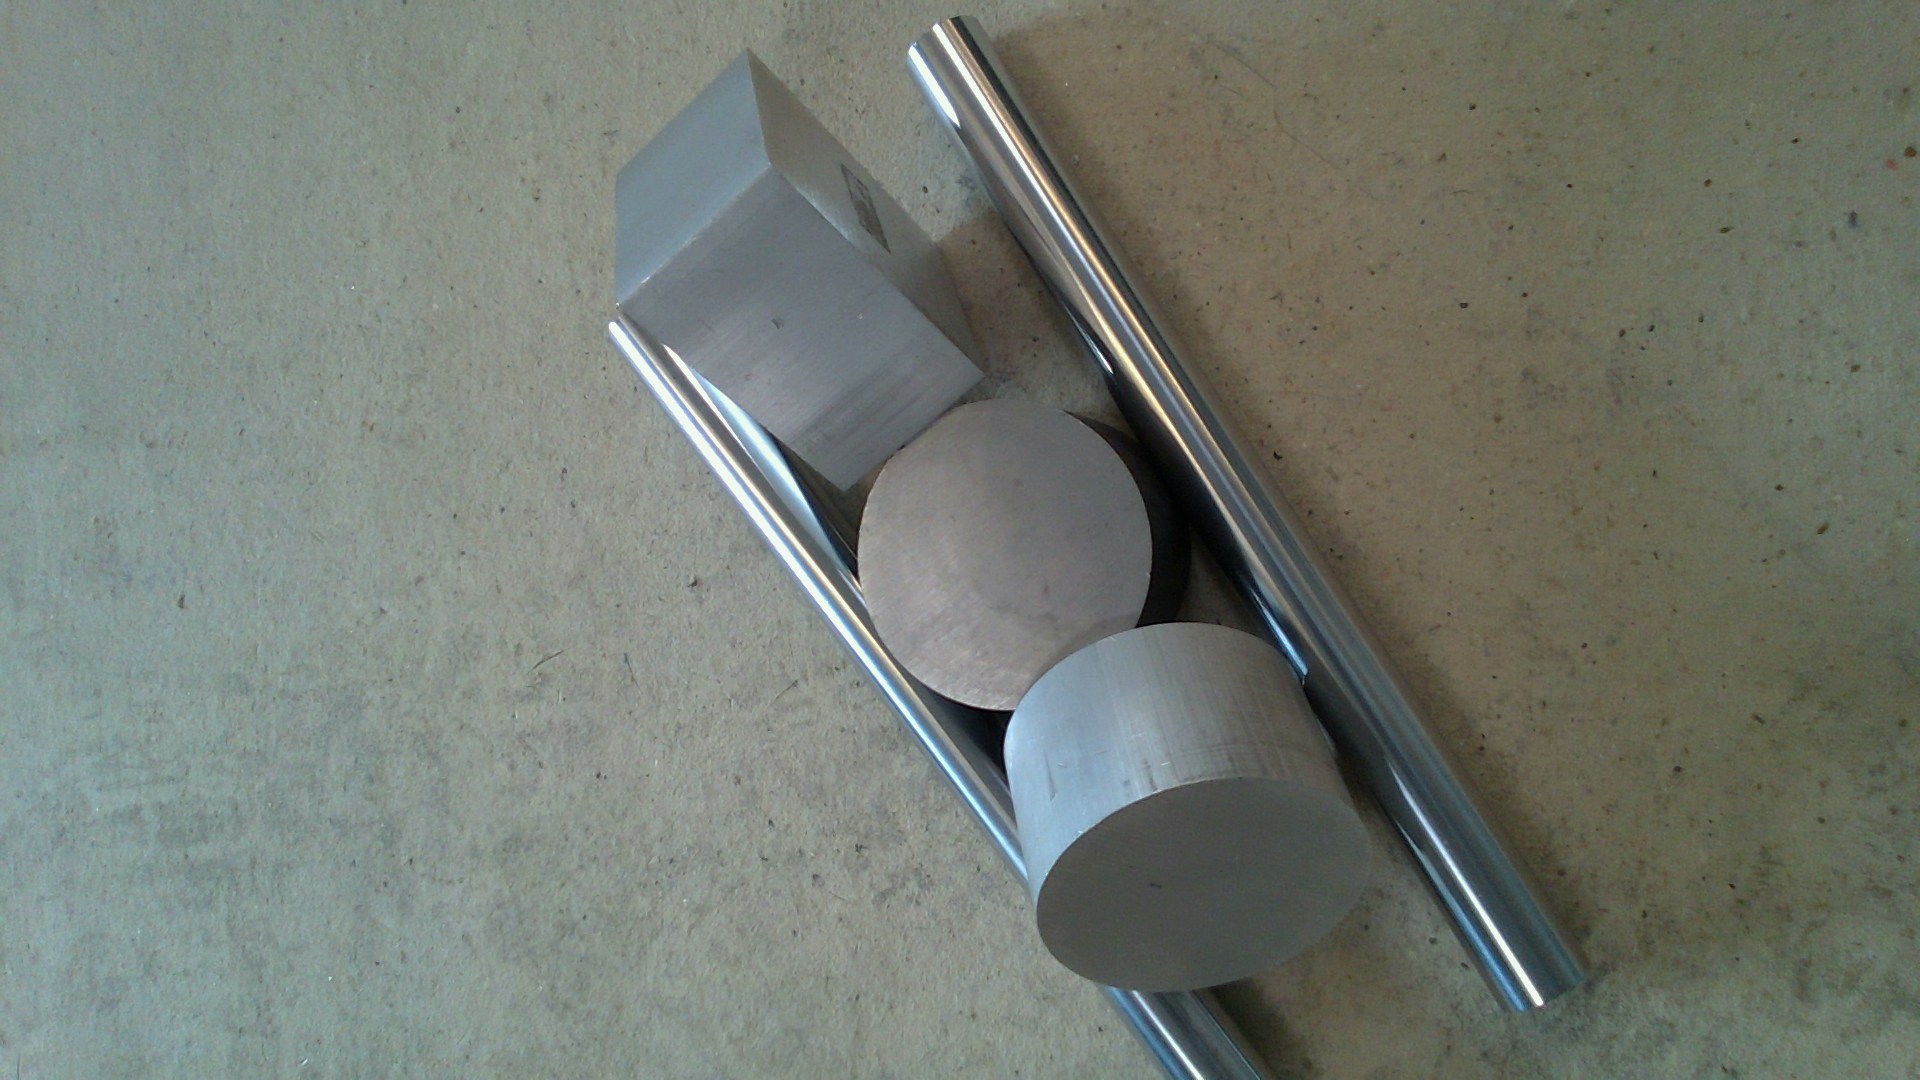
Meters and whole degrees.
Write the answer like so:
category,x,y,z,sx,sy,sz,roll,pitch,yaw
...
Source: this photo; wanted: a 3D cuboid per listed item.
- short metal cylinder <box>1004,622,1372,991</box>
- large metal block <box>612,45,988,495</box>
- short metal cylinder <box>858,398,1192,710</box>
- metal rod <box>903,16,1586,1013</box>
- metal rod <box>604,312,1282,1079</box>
category,x,y,z,sx,sy,sz,roll,pitch,yaw
short metal cylinder,0.054,0.067,0.341,0.080,0.080,0.050,-33,37,17
large metal block,-0.044,-0.072,0.366,0.050,0.080,0.080,-38,36,16
short metal cylinder,0.019,0.004,0.376,0.080,0.050,0.080,0,90,20
metal rod,0.070,-0.015,0.370,0.025,0.025,0.300,-34,79,17
metal rod,-0.009,0.045,0.399,0.025,0.025,0.300,-42,77,15
